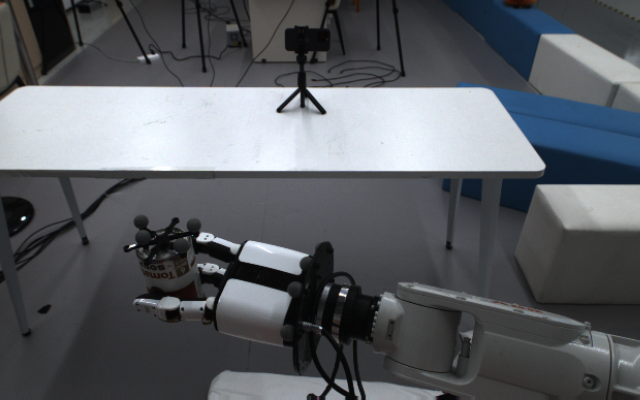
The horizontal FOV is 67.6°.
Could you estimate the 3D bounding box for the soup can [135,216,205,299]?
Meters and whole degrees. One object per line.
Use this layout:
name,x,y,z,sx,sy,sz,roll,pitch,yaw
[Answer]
soup can,-0.186,0.096,0.613,0.067,0.101,0.067,-2,33,1
